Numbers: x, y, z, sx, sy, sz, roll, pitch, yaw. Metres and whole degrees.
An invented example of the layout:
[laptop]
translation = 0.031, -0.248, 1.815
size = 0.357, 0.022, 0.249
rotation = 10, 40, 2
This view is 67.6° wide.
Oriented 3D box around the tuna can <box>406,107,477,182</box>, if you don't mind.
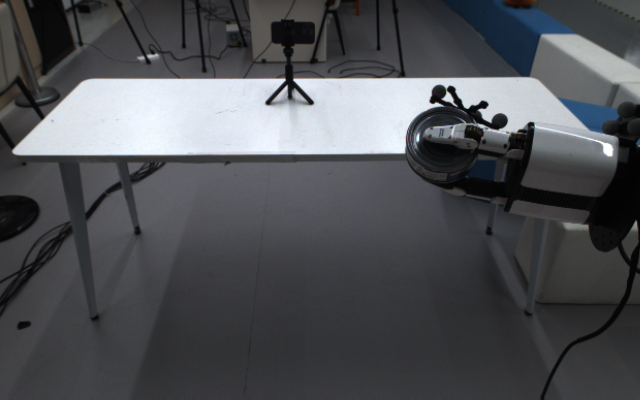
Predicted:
[tuna can]
translation = 0.145, -0.067, 0.564
size = 0.085, 0.034, 0.085
rotation = -4, 69, 10
